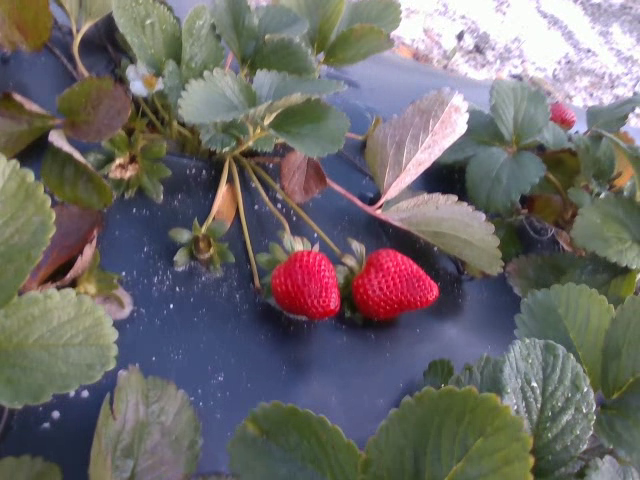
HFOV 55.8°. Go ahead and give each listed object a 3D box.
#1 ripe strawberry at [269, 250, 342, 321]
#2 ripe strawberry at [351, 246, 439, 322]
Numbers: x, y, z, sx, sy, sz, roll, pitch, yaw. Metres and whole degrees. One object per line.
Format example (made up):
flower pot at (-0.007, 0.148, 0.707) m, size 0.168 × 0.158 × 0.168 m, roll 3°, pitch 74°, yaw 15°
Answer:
ripe strawberry at (-0.005, 0.031, 0.388) m, size 0.048 × 0.041 × 0.056 m, roll -8°, pitch 40°, yaw -29°
ripe strawberry at (0.054, 0.028, 0.411) m, size 0.064 × 0.051 × 0.058 m, roll 17°, pitch 44°, yaw 27°
